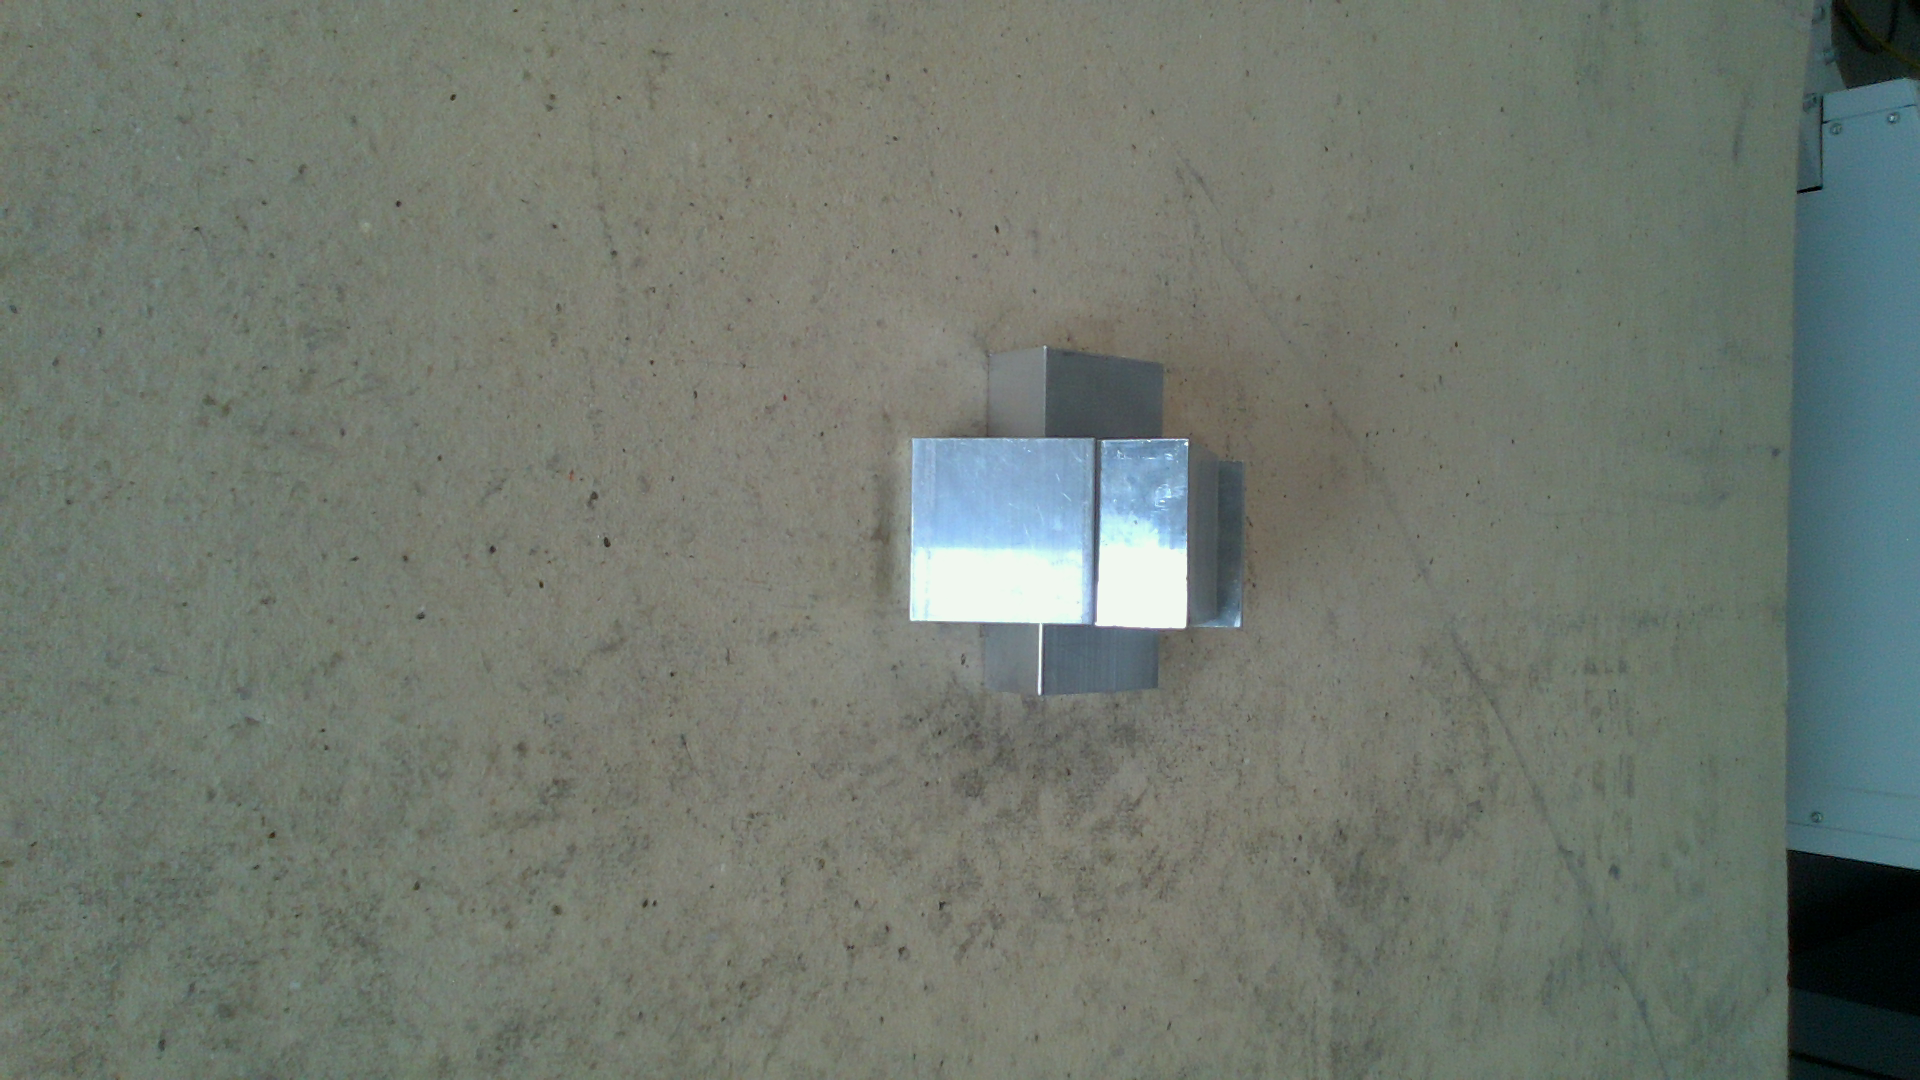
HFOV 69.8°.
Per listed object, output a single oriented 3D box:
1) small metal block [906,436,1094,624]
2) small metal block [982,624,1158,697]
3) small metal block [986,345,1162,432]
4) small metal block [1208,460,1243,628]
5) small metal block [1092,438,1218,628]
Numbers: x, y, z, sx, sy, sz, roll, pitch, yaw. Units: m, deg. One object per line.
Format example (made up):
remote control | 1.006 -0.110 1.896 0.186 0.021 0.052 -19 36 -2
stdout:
small metal block | 0.012 -0.003 0.382 0.025 0.050 0.050 3 88 -82
small metal block | 0.034 0.020 0.417 0.050 0.025 0.050 1 89 -40
small metal block | 0.035 -0.030 0.418 0.050 0.025 0.050 1 89 -40
small metal block | 0.076 0.001 0.437 0.050 0.025 0.050 4 87 -79
small metal block | 0.056 -0.002 0.389 0.050 0.025 0.050 3 88 -71
